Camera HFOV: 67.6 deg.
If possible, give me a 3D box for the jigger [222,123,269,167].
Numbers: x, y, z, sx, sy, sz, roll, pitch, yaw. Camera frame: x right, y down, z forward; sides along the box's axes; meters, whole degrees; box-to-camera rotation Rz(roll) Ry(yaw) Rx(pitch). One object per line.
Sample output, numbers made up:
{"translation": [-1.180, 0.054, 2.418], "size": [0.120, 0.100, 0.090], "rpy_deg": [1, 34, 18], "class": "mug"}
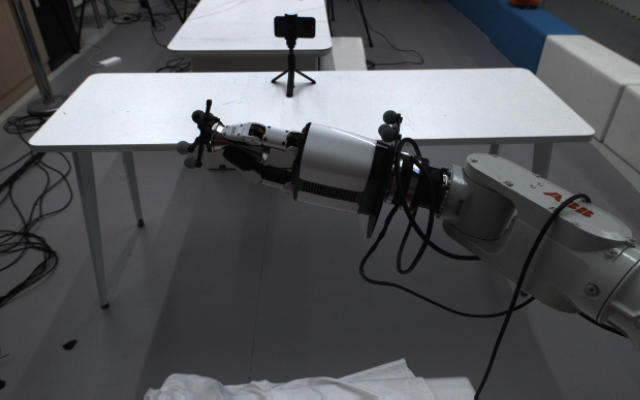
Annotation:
{"translation": [-0.097, -0.078, 0.620], "size": [0.071, 0.043, 0.043], "rpy_deg": [13, 36, 4], "class": "jigger"}
